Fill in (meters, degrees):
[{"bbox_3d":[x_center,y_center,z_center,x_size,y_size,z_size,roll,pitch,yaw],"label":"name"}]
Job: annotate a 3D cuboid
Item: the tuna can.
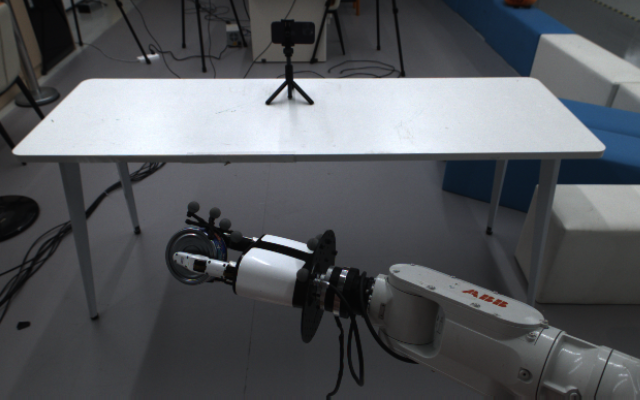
[{"bbox_3d":[-0.181,0.082,0.711,0.085,0.085,0.034,12,4,14],"label":"tuna can"}]
